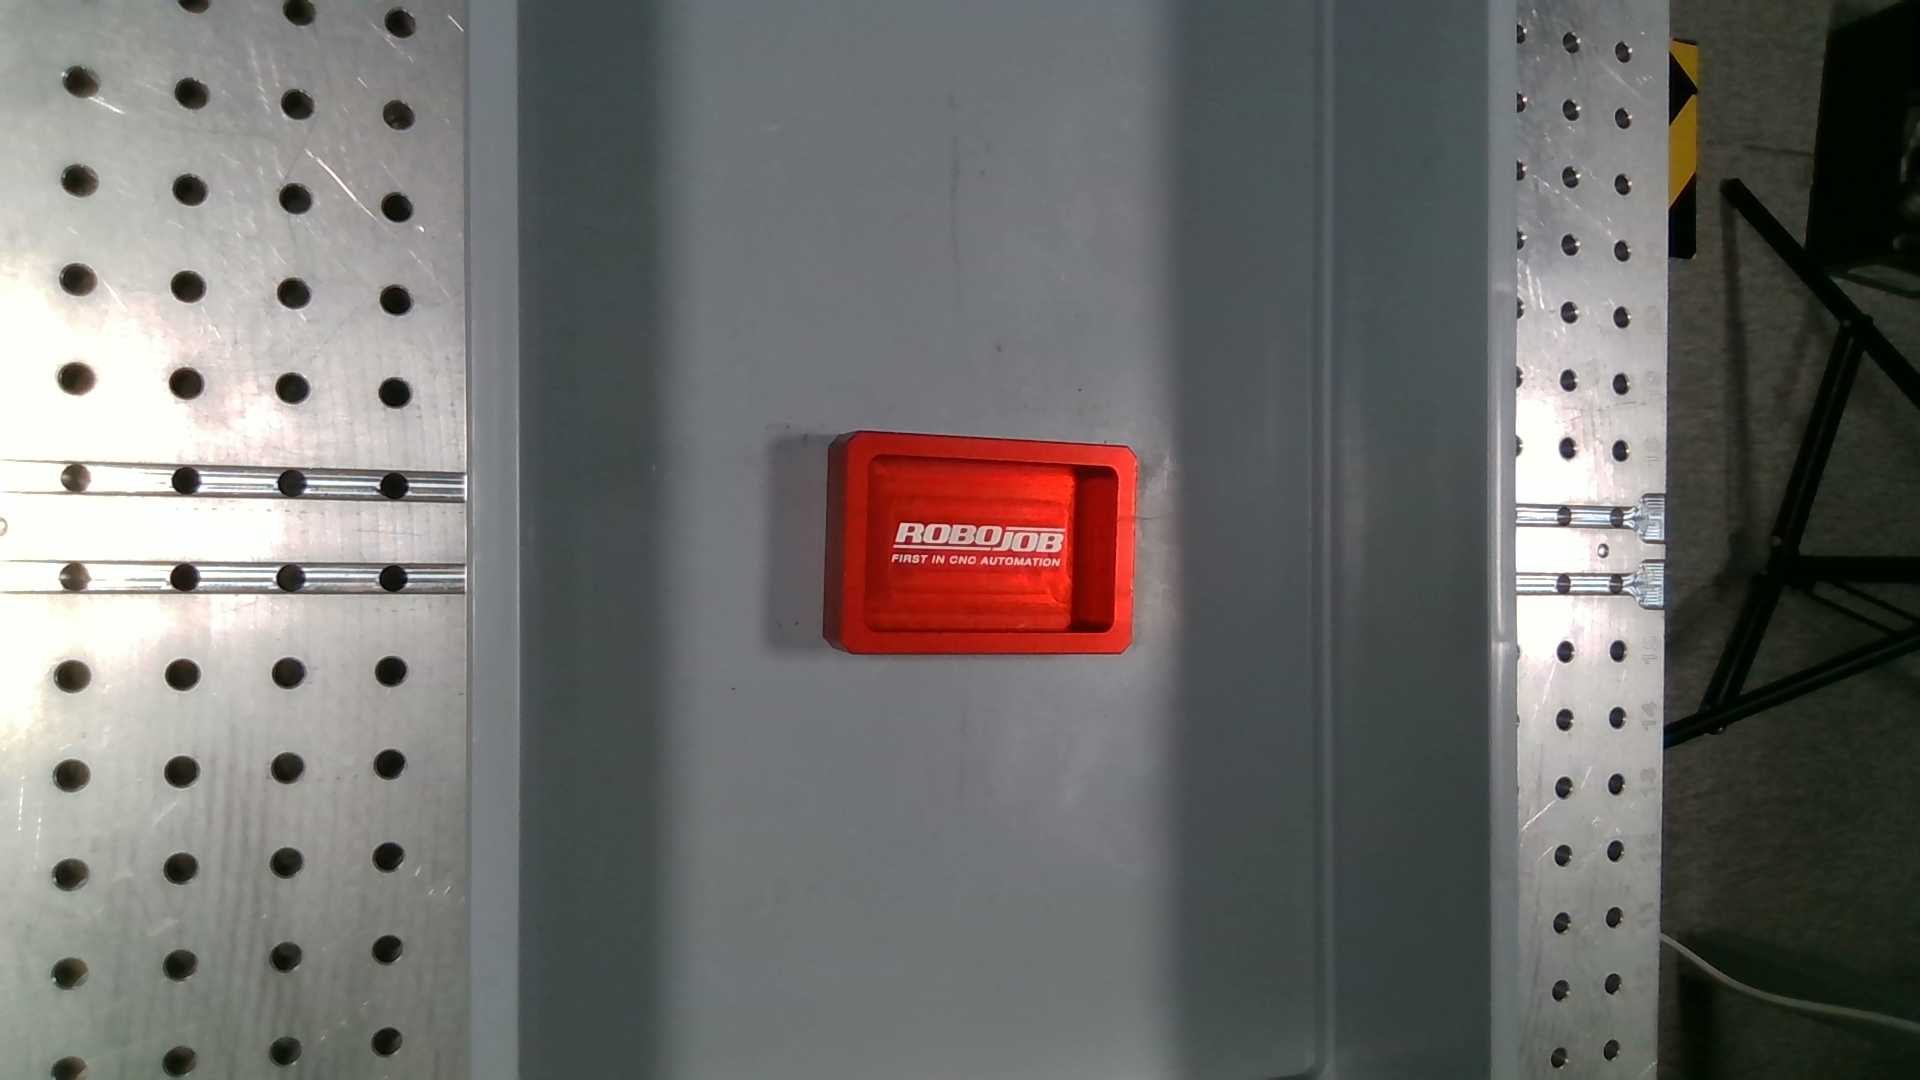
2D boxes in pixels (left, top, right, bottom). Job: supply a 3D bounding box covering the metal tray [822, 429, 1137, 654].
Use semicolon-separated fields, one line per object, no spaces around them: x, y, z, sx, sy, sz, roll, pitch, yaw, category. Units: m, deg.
0.009;0.002;0.584;0.130;0.030;0.090;2;90;-21;metal tray
